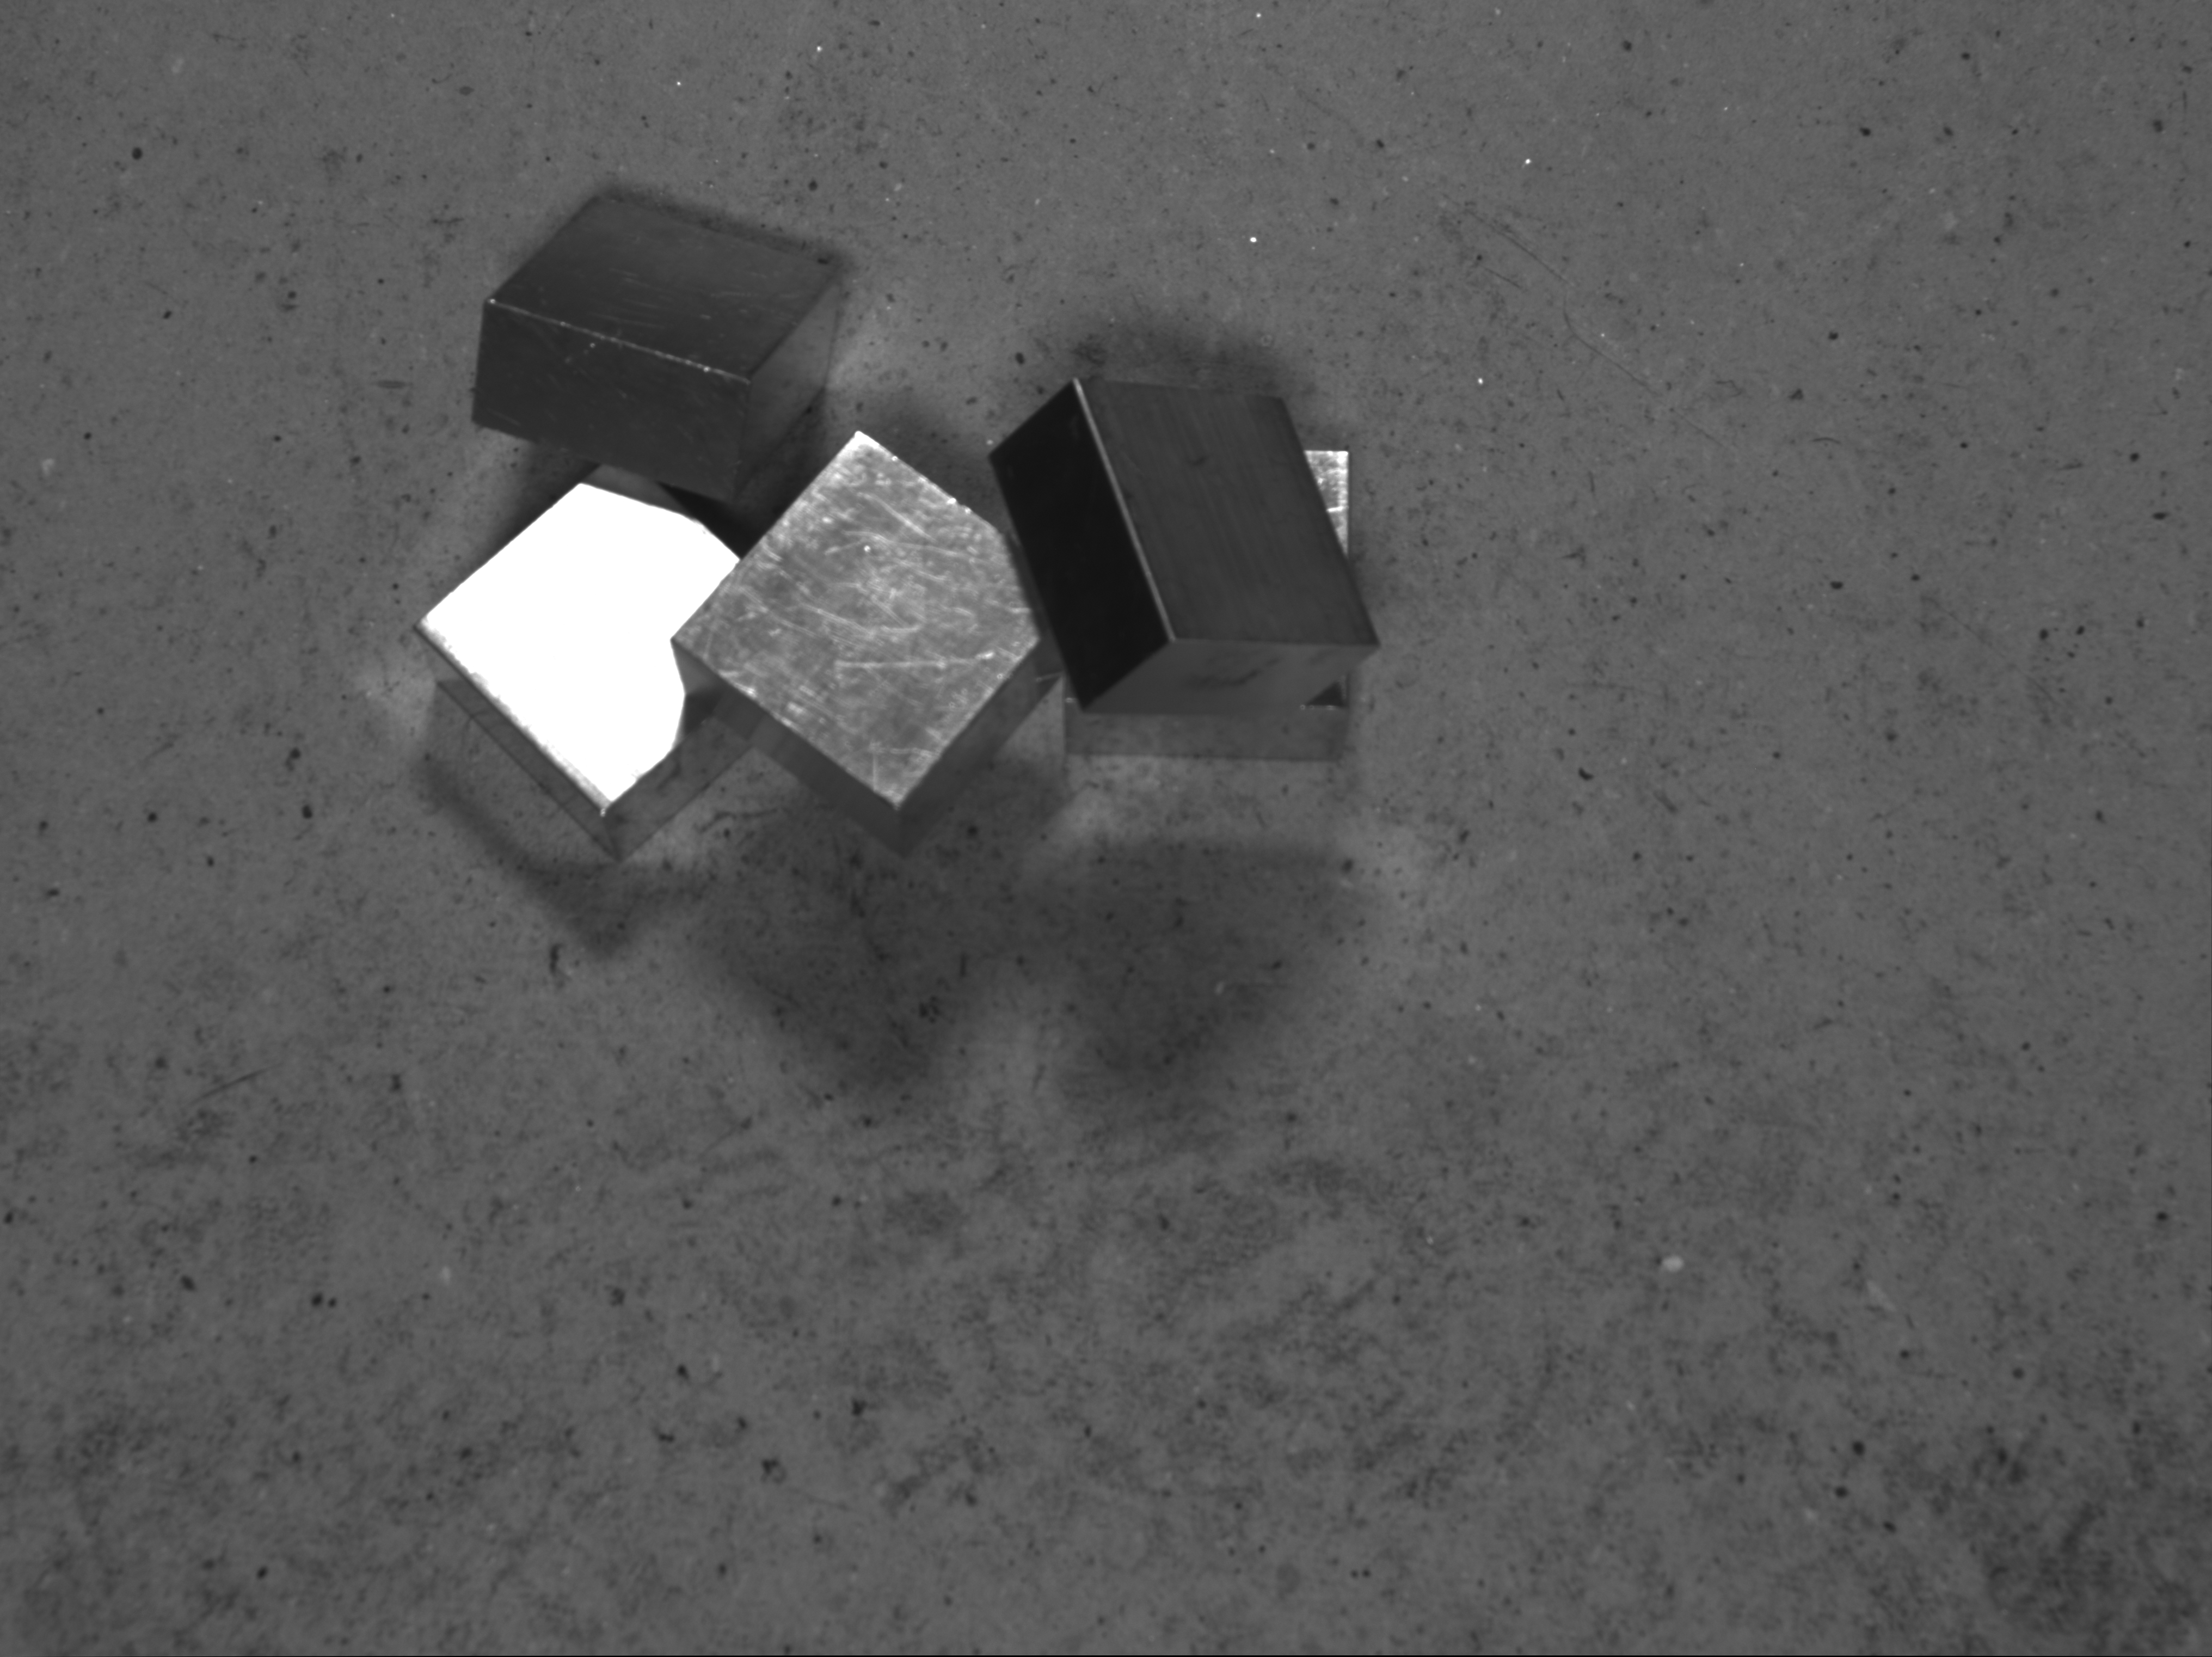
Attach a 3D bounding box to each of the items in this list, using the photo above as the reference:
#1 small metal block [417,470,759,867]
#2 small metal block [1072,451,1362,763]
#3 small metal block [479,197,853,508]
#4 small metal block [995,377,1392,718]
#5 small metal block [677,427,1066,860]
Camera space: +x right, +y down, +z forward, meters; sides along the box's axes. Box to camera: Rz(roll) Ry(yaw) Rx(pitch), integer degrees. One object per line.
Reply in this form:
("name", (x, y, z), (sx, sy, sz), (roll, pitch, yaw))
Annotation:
("small metal block", (-0.086, -0.031, 0.656), (0.050, 0.025, 0.050), (-43, 75, -14))
("small metal block", (0.020, -0.041, 0.660), (0.050, 0.025, 0.050), (2, 70, 1))
("small metal block", (-0.079, -0.087, 0.665), (0.050, 0.025, 0.050), (18, 34, 6))
("small metal block", (0.015, -0.047, 0.622), (0.050, 0.025, 0.050), (-1, 63, -43))
("small metal block", (-0.037, -0.032, 0.629), (0.050, 0.025, 0.050), (36, 74, 12))
